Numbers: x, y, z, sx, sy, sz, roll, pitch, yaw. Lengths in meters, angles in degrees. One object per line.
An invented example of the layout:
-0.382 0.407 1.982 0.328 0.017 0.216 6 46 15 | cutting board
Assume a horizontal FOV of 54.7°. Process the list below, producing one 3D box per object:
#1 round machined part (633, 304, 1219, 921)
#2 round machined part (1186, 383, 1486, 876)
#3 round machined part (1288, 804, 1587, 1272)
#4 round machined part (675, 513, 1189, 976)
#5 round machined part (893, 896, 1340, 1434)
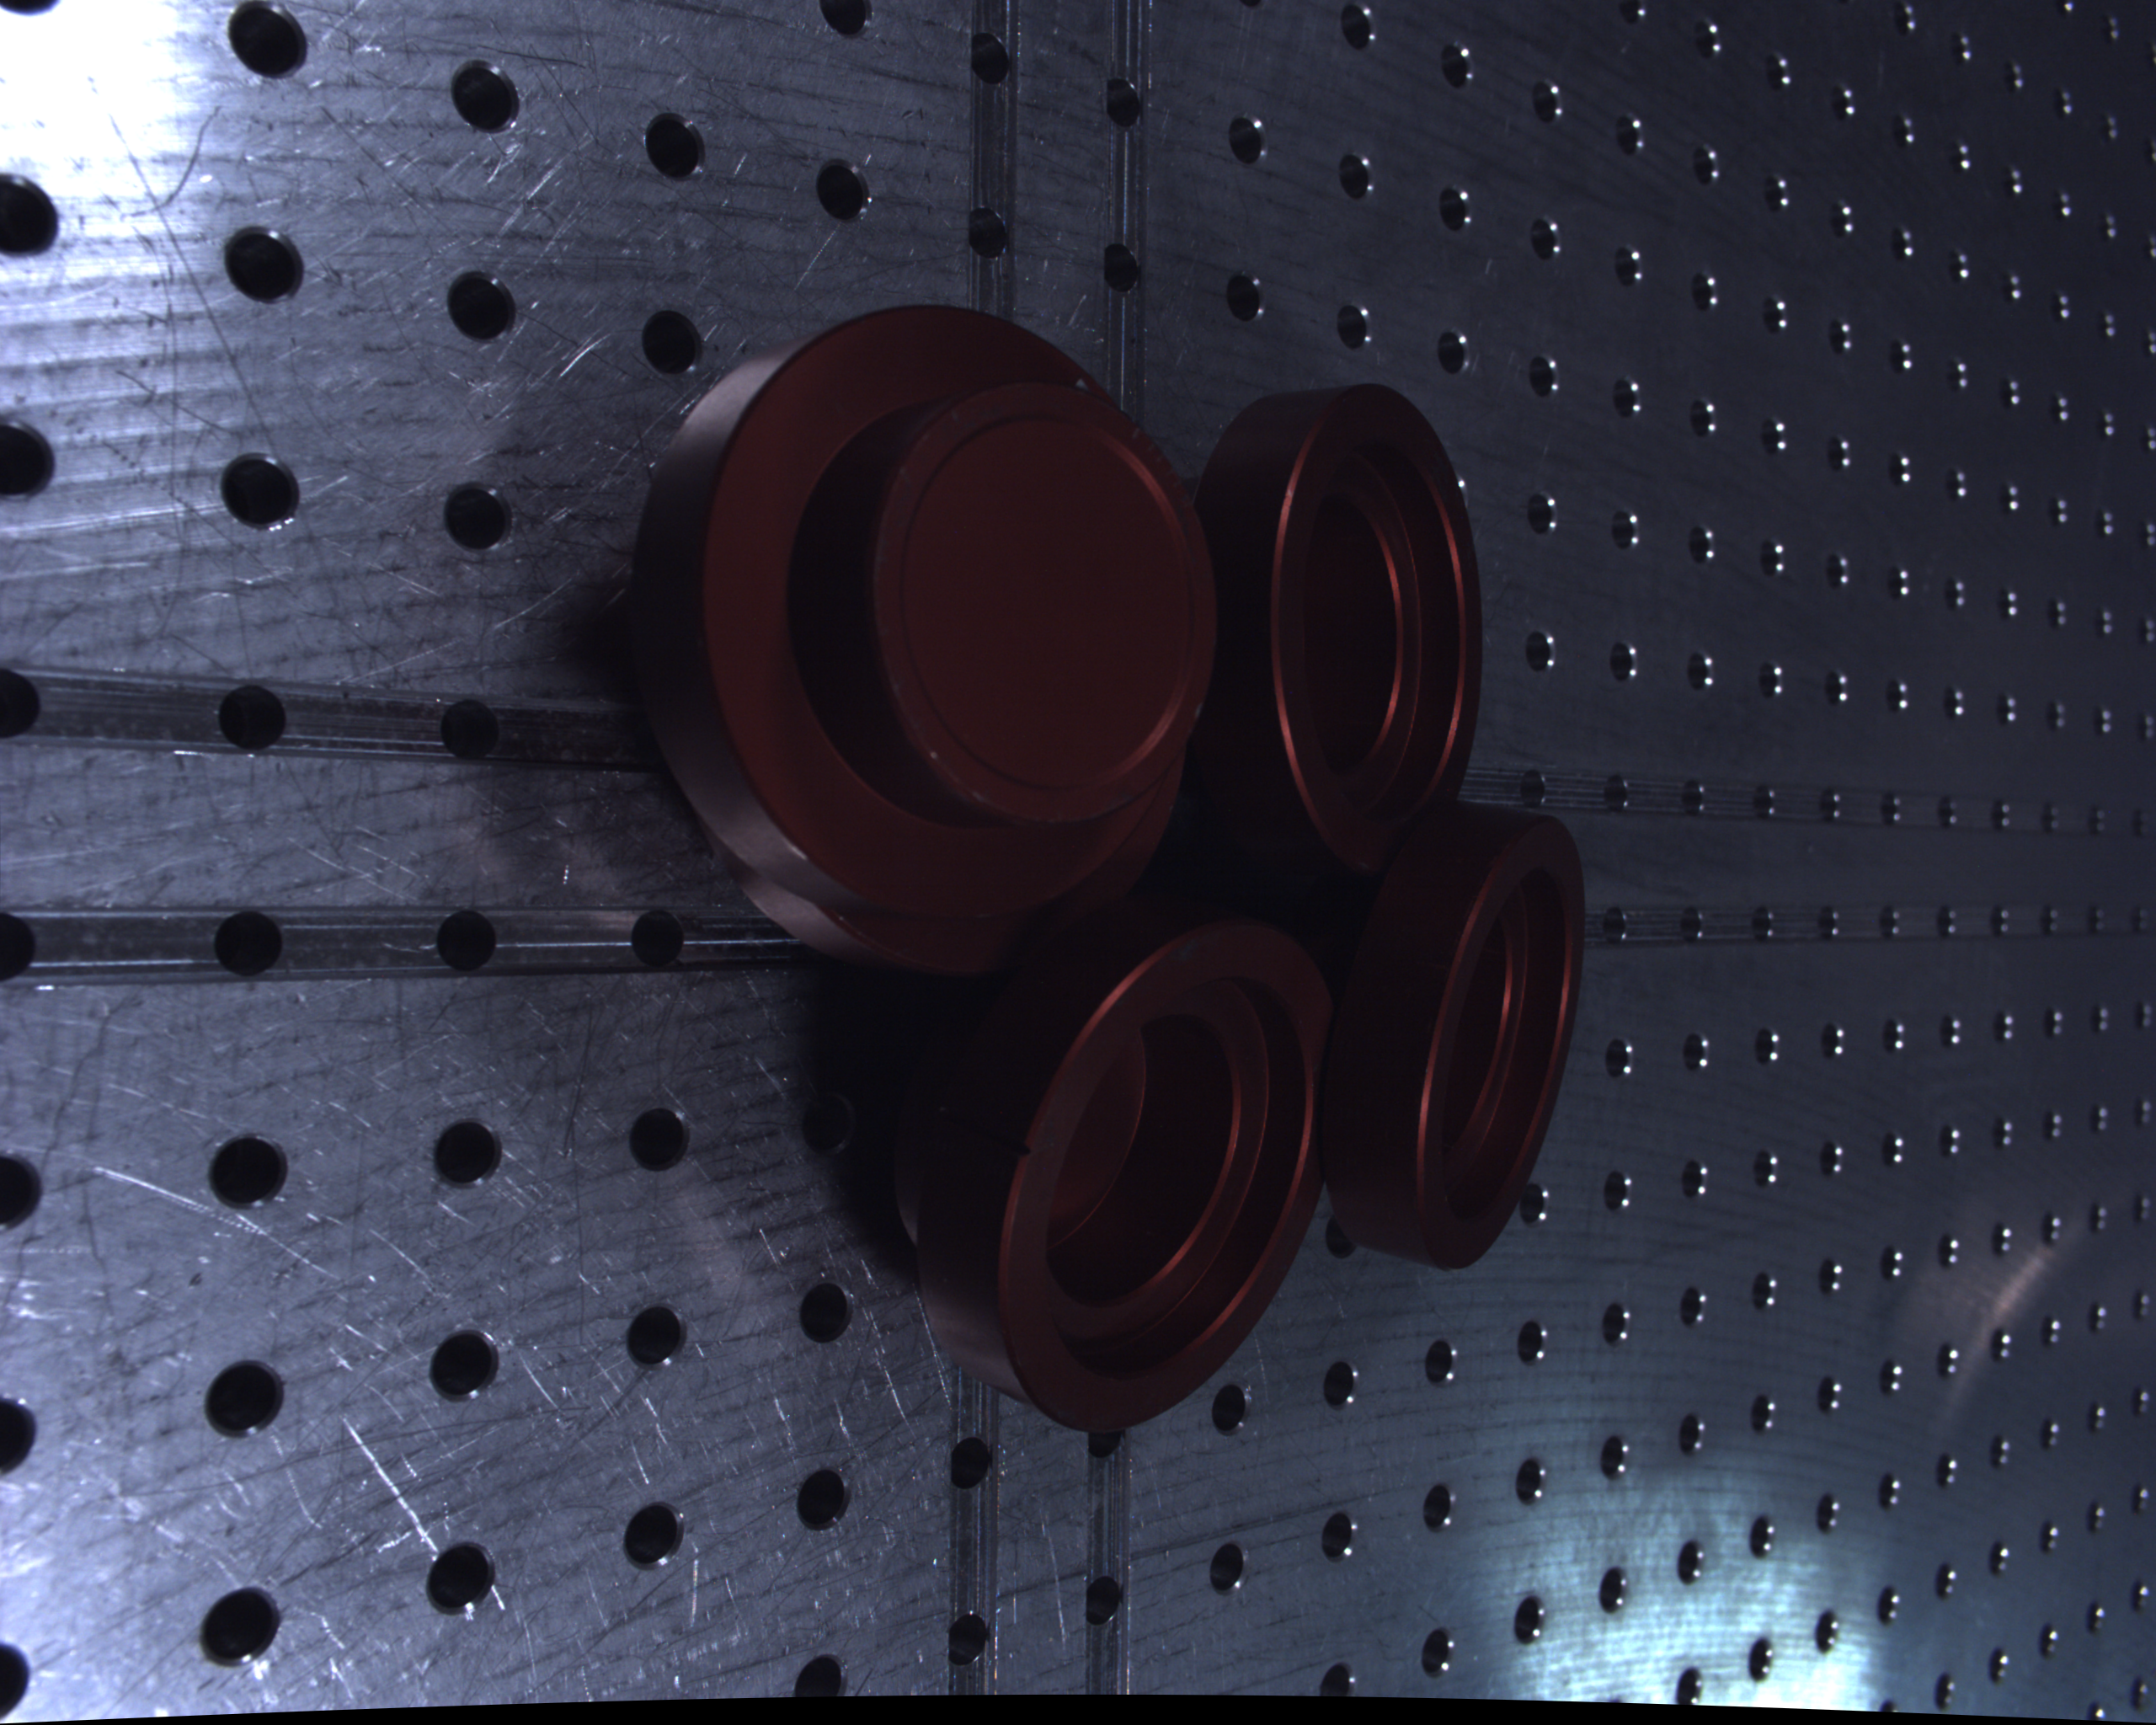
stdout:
-0.016 -0.039 0.331 0.099 0.042 0.097 0 90 -40 | round machined part
0.045 -0.046 0.426 0.099 0.042 0.097 -3 94 -56 | round machined part
0.073 0.034 0.446 0.099 0.042 0.097 -32 127 -54 | round machined part
-0.029 -0.029 0.374 0.099 0.042 0.097 0 90 -40 | round machined part
0.004 0.053 0.392 0.099 0.042 0.097 -23 121 -44 | round machined part
